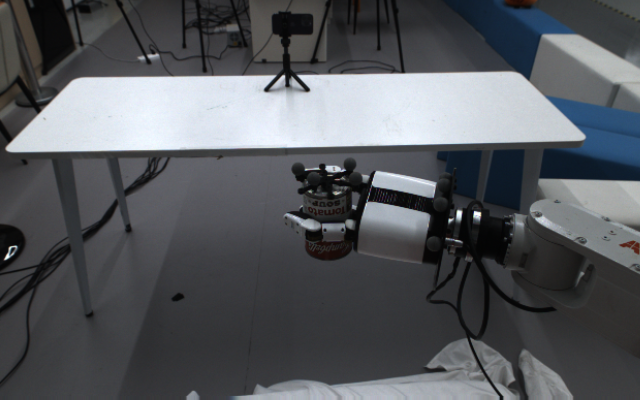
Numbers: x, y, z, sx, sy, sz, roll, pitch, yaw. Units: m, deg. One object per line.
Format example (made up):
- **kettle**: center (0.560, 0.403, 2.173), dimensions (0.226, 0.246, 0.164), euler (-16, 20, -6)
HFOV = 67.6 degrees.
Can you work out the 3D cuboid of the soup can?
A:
- **soup can**: center (0.012, 0.021, 0.655), dimensions (0.067, 0.101, 0.067), euler (-2, 33, 1)
